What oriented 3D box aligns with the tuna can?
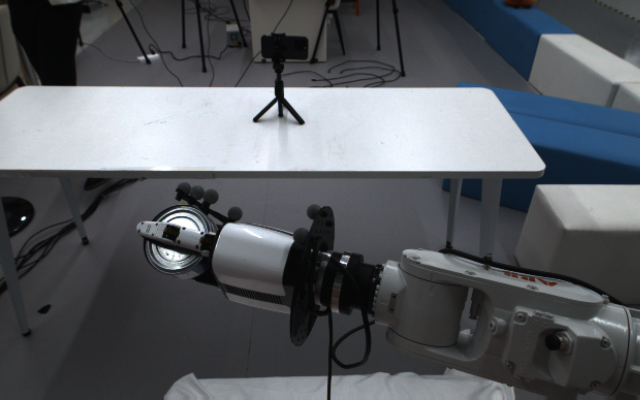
[{"bbox_3d":[-0.162,0.049,0.579,0.085,0.034,0.085,-4,67,10],"label":"tuna can"}]
